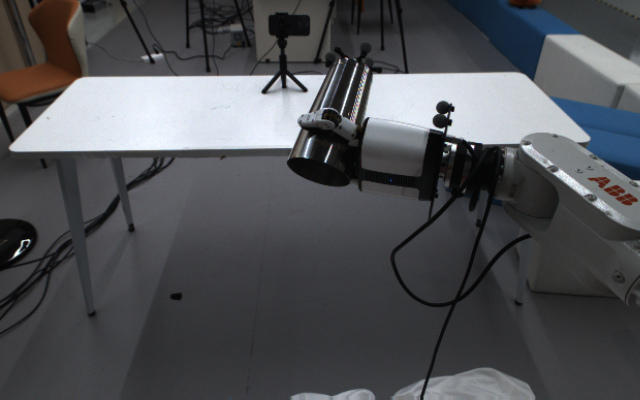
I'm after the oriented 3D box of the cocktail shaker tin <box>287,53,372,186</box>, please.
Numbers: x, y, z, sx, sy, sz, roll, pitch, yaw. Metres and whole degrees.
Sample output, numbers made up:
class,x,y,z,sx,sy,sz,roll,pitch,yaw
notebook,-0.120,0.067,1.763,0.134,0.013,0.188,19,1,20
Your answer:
class,x,y,z,sx,sy,sz,roll,pitch,yaw
cocktail shaker tin,0.020,-0.116,0.696,0.093,0.093,0.170,14,72,16
